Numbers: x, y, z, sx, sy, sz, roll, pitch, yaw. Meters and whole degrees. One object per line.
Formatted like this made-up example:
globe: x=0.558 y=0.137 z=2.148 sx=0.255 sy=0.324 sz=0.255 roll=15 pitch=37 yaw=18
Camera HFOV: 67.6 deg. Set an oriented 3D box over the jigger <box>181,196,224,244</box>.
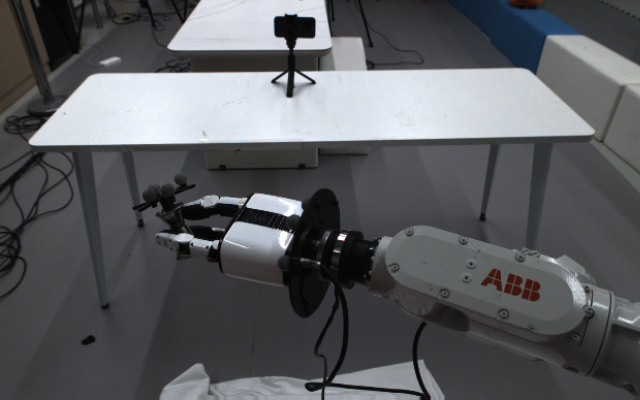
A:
jigger: x=-0.185 y=0.041 z=0.656 sx=0.043 sy=0.071 sz=0.043 roll=-21 pitch=16 yaw=6
